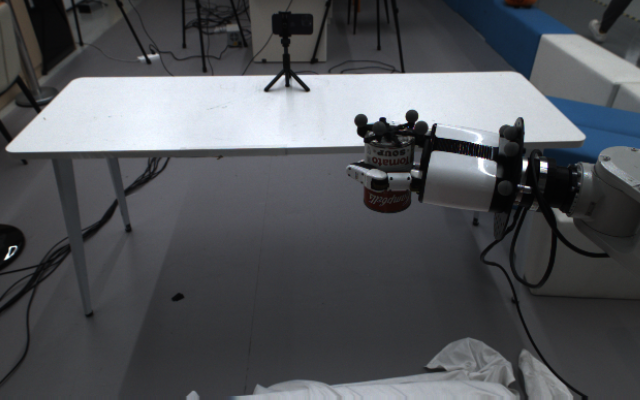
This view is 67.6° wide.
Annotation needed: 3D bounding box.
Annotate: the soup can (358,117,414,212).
[{"bbox_3d":[0.095,-0.043,0.658,0.067,0.101,0.067,-2,33,1],"label":"soup can"}]
